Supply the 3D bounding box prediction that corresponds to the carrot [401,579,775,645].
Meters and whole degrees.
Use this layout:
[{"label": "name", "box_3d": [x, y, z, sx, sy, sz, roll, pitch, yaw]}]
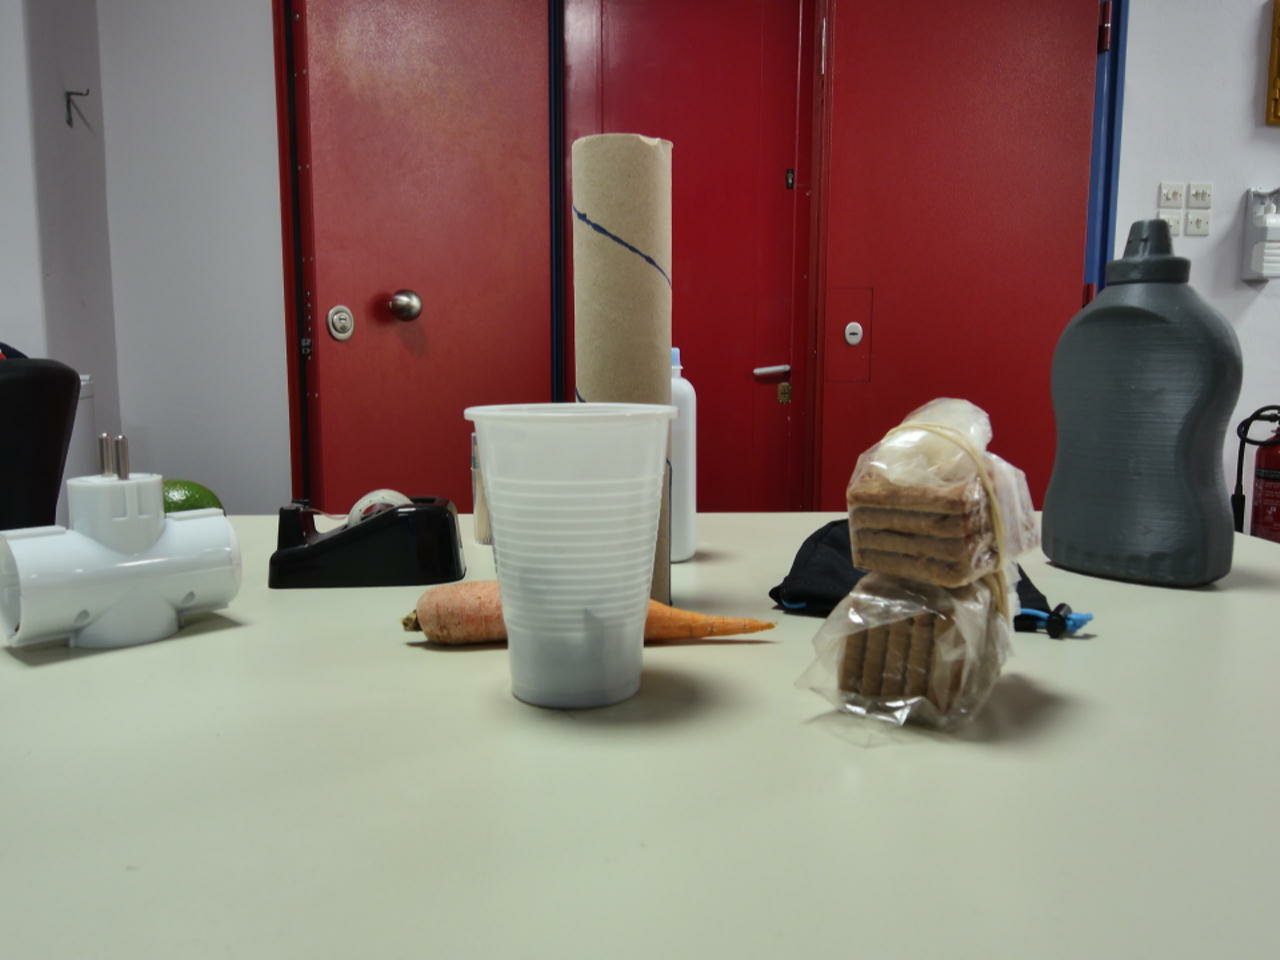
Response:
[{"label": "carrot", "box_3d": [-0.023, 0.059, 0.444, 0.163, 0.029, 0.031, 0, 4, -1]}]
